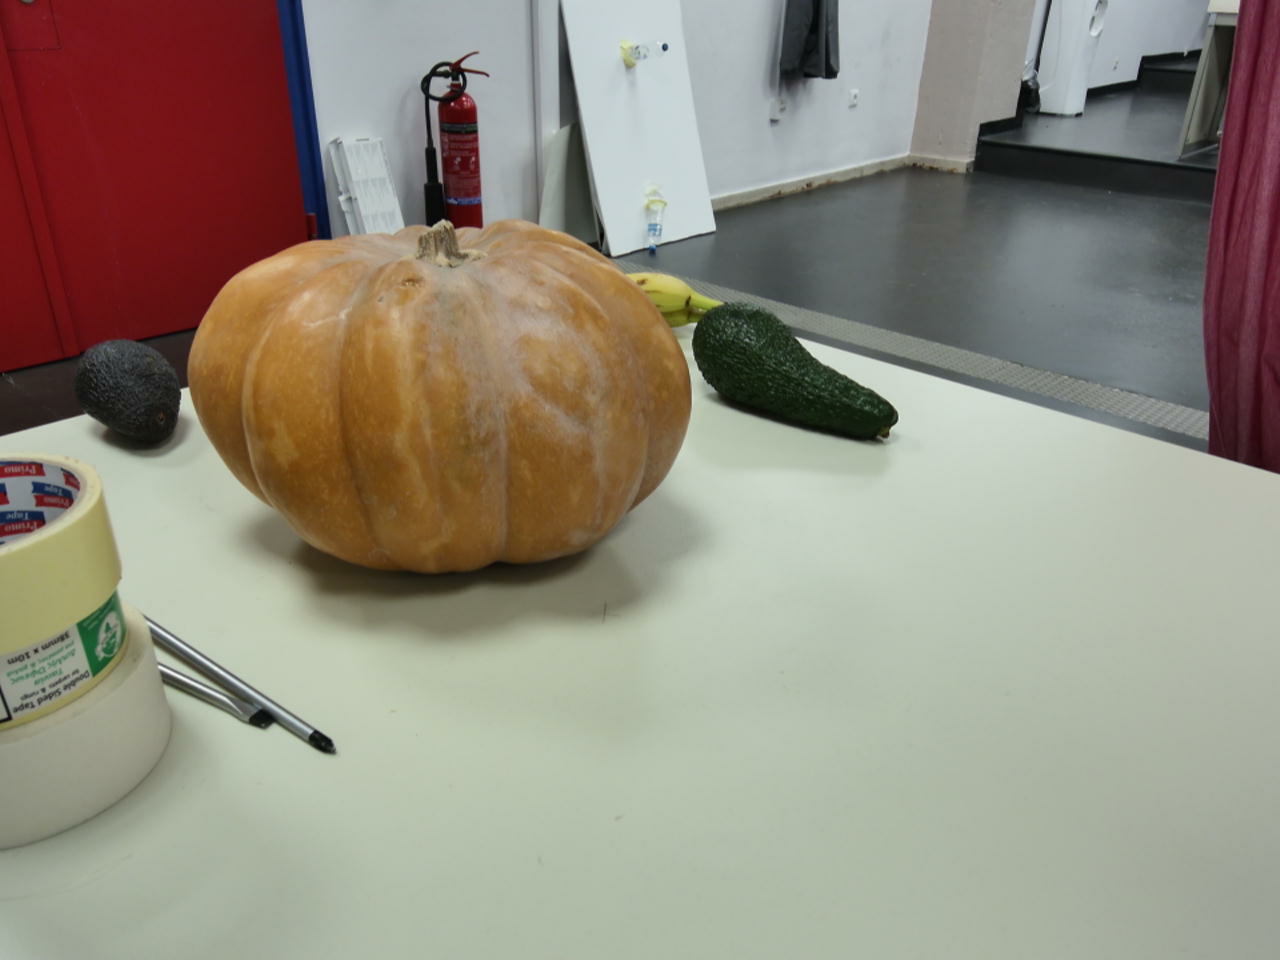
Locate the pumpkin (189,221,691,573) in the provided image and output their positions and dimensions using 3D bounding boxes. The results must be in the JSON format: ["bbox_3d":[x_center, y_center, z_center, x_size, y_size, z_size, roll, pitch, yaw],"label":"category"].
[{"bbox_3d":[-0.107,-0.054,0.572,0.277,0.181,0.277,0,26,0],"label":"pumpkin"}]
